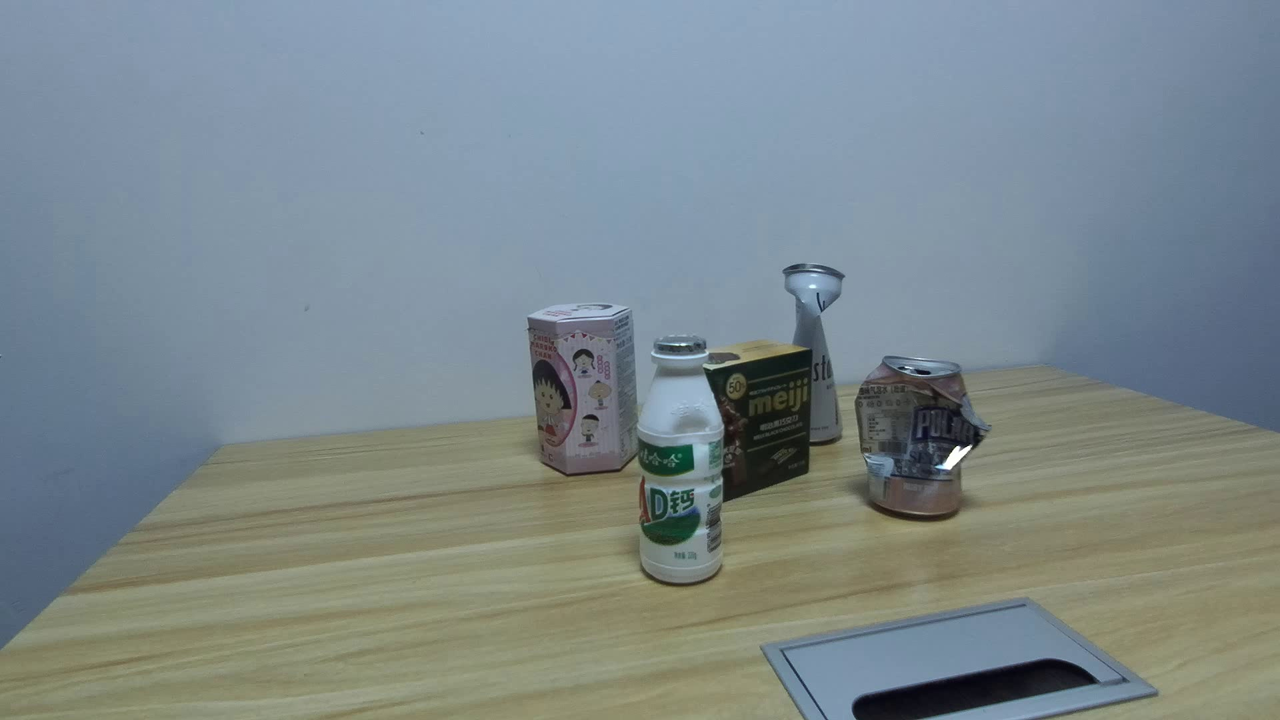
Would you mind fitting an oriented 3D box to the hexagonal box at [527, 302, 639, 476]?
[{"bbox_3d":[-0.048,0.024,0.619,0.084,0.136,0.091,-12,16,-38],"label":"hexagonal box"}]

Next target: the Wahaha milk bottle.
[{"bbox_3d":[0.025,0.065,0.430,0.053,0.136,0.053,0,12,0],"label":"Wahaha milk bottle"}]

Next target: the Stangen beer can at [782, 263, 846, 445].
[{"bbox_3d":[0.160,-0.004,0.659,0.066,0.162,0.077,-7,13,-26],"label":"Stangen beer can"}]

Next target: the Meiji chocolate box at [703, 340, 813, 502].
[{"bbox_3d":[0.082,0.046,0.566,0.110,0.109,0.056,-10,15,-33],"label":"Meiji chocolate box"}]

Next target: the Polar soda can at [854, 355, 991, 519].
[{"bbox_3d":[0.201,0.054,0.507,0.074,0.114,0.070,-10,21,-19],"label":"Polar soda can"}]
